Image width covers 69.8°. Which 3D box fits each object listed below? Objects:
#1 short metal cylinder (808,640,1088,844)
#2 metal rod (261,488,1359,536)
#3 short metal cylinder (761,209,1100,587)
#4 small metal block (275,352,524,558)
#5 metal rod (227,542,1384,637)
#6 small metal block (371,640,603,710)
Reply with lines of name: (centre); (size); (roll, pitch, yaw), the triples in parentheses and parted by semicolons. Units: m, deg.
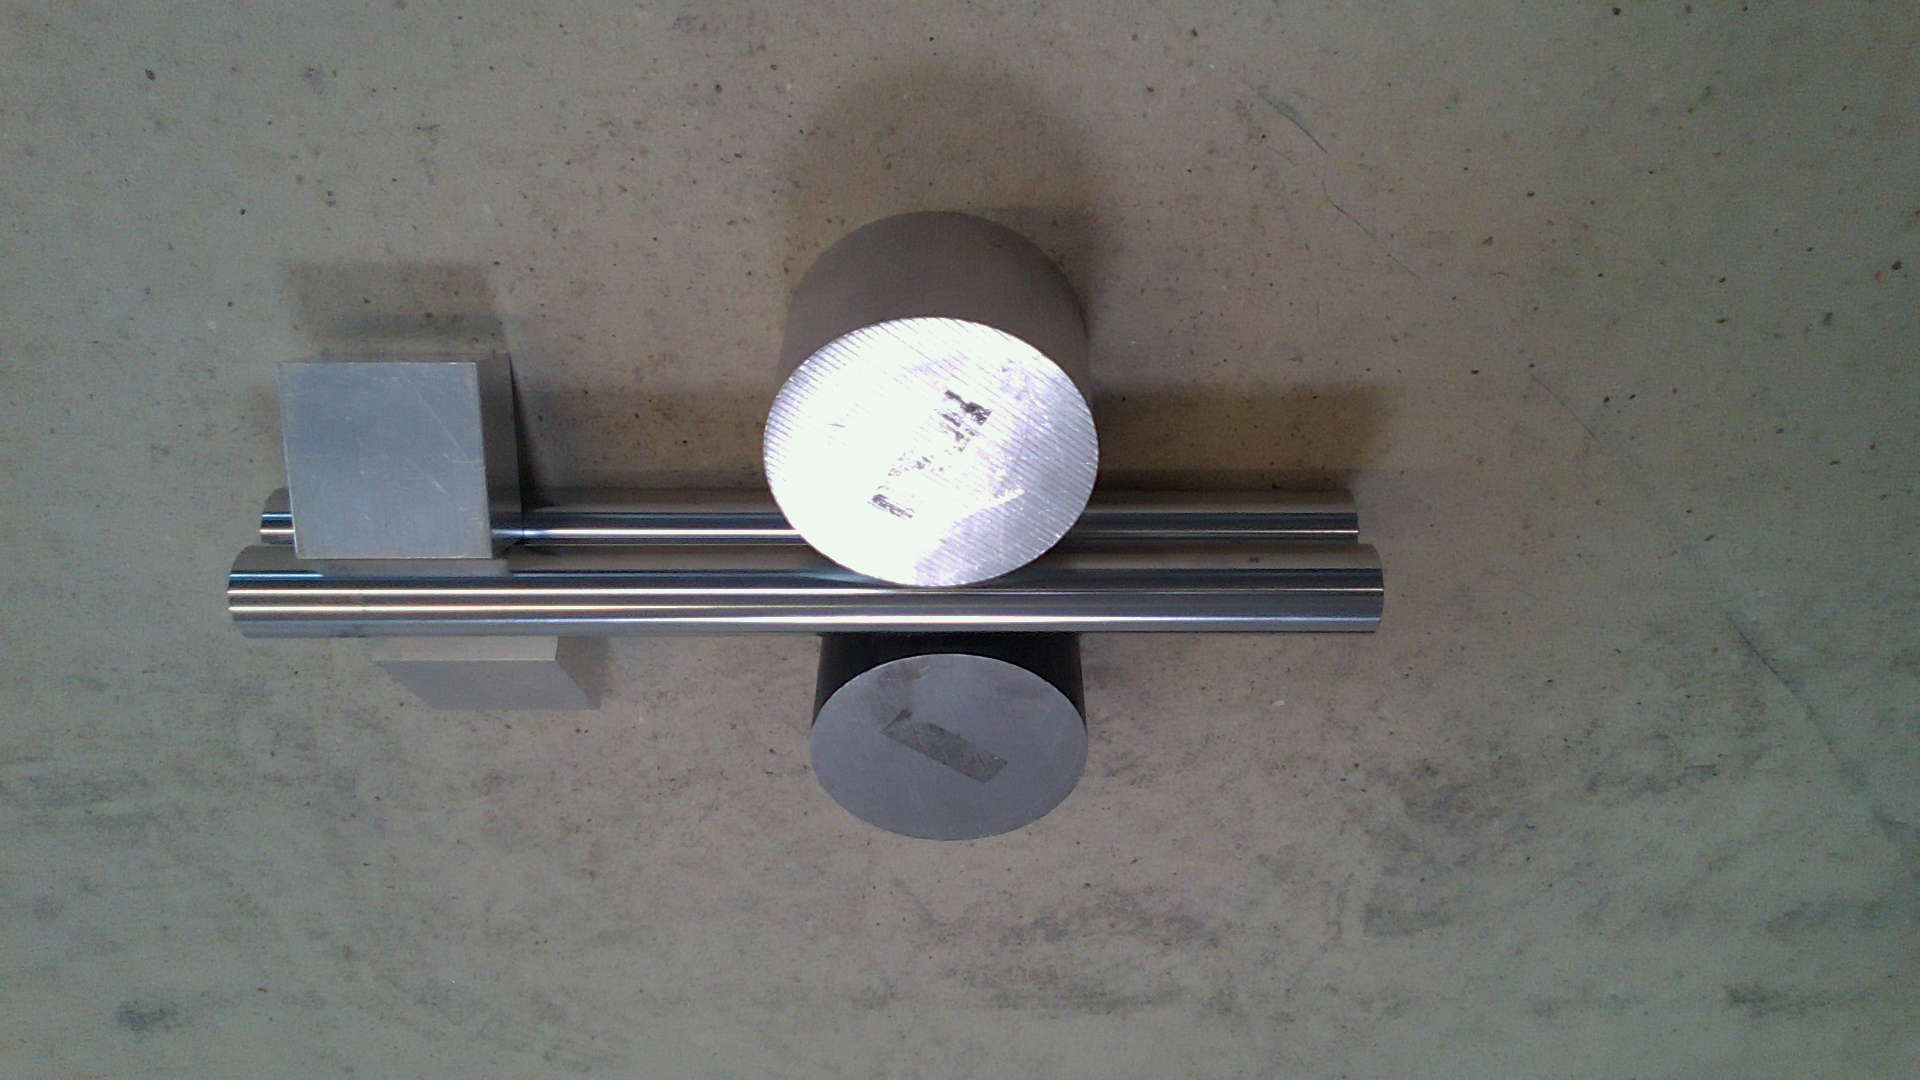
short metal cylinder: (-0.003, 0.046, 0.413); (0.080, 0.050, 0.080); (0, 130, 0)
metal rod: (-0.041, -0.002, 0.388); (0.300, 0.025, 0.025); (0, 130, 0)
short metal cylinder: (-0.007, -0.035, 0.345); (0.080, 0.050, 0.080); (0, 130, 0)
small metal block: (-0.144, -0.023, 0.358); (0.050, 0.025, 0.050); (0, 103, 0)
metal rod: (-0.040, 0.013, 0.369); (0.300, 0.025, 0.025); (0, 130, 0)
small metal block: (-0.136, 0.031, 0.403); (0.050, 0.025, 0.050); (0, 157, -1)
